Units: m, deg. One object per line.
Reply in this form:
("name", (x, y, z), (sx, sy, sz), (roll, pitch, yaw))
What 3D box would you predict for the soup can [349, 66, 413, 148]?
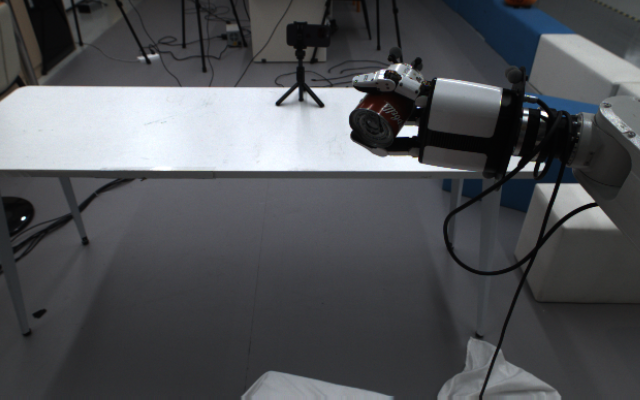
("soup can", (0.095, -0.131, 0.655), (0.067, 0.067, 0.101), (22, 61, 26))
